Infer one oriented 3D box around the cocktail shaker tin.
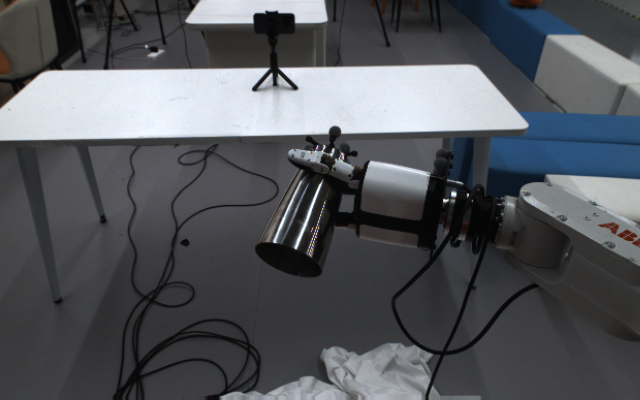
[{"bbox_3d":[-0.015,0.006,0.661,0.093,0.093,0.170,13,59,16],"label":"cocktail shaker tin"}]
